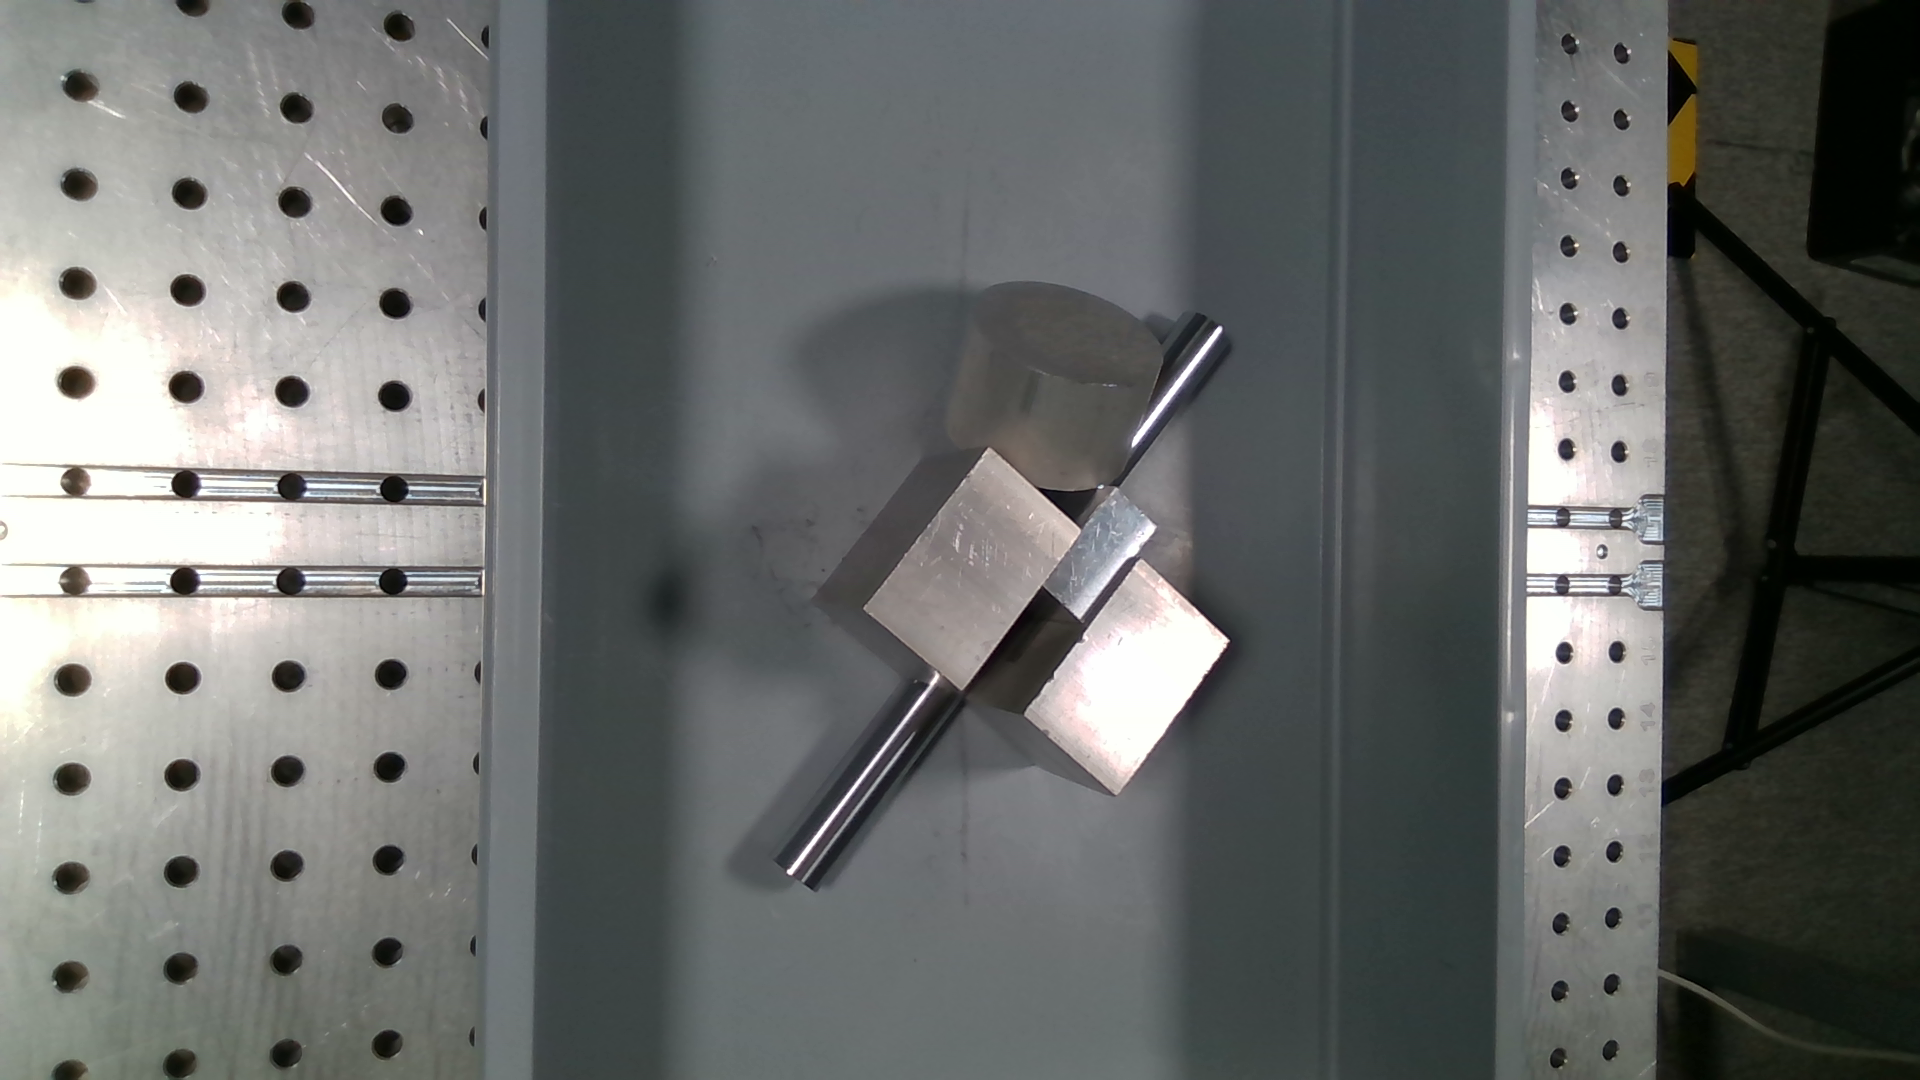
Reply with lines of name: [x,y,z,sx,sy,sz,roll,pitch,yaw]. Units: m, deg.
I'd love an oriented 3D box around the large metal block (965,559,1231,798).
large metal block: [0.053,0.054,0.577,0.050,0.080,0.080,42,77,-15]

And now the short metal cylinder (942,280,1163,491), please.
short metal cylinder: [0.037,-0.064,0.563,0.080,0.080,0.050,1,129,-20]

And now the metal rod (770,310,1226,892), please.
metal rod: [0.021,0.020,0.594,0.025,0.025,0.300,41,77,-16]

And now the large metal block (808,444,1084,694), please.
large metal block: [-0.008,0.011,0.553,0.050,0.080,0.080,41,77,-16]

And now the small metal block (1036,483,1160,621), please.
small metal block: [0.047,0.005,0.564,0.025,0.050,0.050,43,76,-15]
